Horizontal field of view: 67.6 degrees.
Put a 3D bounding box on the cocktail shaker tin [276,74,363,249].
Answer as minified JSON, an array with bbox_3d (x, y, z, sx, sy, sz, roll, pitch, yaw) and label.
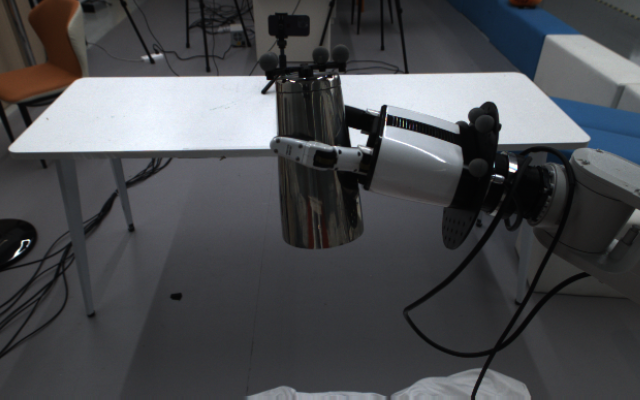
[{"bbox_3d":[-0.004,-0.043,0.515,0.093,0.170,0.093,-6,19,2],"label":"cocktail shaker tin"}]
